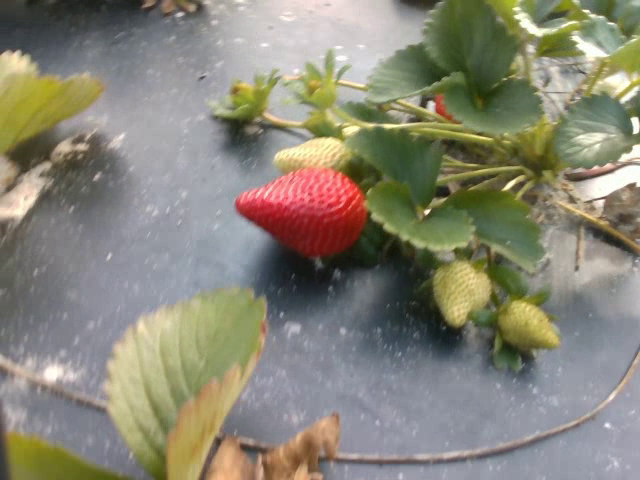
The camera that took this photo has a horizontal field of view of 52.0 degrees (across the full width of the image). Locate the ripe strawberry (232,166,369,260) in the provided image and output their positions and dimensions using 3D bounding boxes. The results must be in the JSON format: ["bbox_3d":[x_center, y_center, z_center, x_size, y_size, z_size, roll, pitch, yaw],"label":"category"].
[{"bbox_3d":[-0.014,-0.016,0.276,0.055,0.048,0.051,8,-4,-38],"label":"ripe strawberry"}]
